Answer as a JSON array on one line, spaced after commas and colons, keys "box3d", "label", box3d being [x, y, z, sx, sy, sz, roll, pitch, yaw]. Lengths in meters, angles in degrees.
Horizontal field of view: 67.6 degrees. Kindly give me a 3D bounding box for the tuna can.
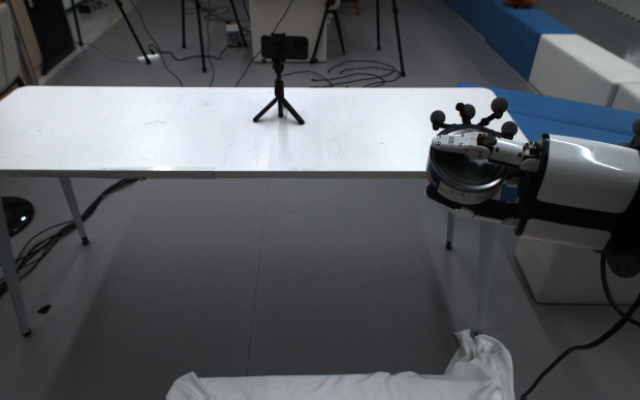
[{"box3d": [0.160, -0.044, 0.523, 0.085, 0.034, 0.085, -2, 56, 3], "label": "tuna can"}]
